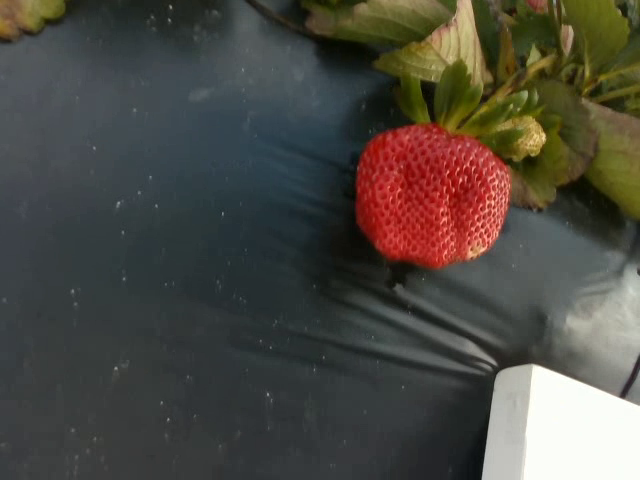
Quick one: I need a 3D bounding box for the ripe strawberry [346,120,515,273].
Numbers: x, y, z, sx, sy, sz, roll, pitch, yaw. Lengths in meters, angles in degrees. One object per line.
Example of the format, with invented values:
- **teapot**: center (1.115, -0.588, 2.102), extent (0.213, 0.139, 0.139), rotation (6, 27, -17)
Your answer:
- **ripe strawberry**: center (0.044, -0.018, 0.204), extent (0.067, 0.075, 0.039), rotation (26, -29, -8)
